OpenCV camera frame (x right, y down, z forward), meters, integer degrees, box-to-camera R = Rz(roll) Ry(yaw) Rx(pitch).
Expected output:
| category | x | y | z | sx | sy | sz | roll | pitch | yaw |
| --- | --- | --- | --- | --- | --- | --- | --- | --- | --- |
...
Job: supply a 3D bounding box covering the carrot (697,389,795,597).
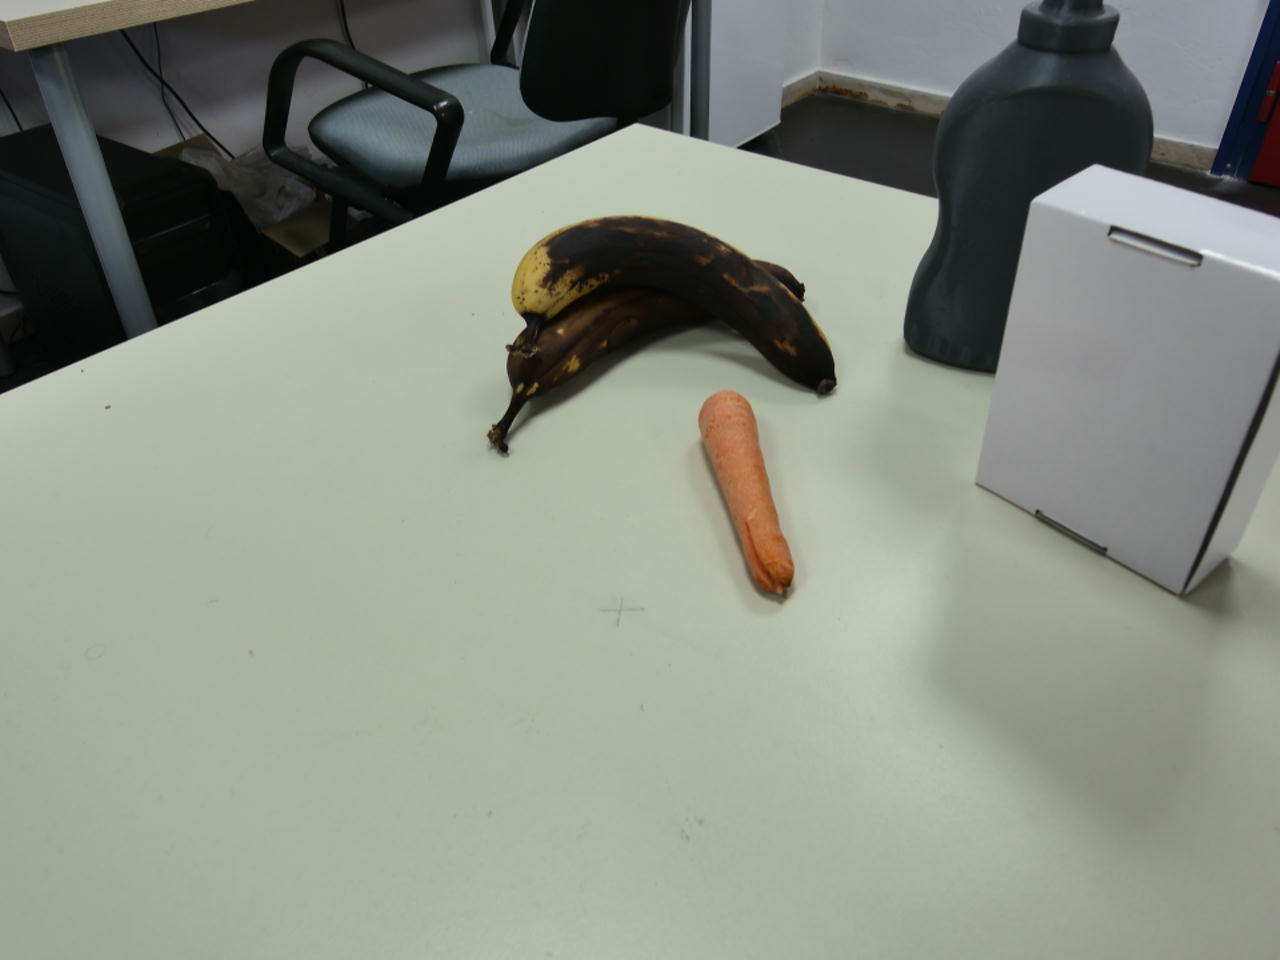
| category | x | y | z | sx | sy | sz | roll | pitch | yaw |
| --- | --- | --- | --- | --- | --- | --- | --- | --- | --- |
| carrot | 0.049 | 0.000 | 0.469 | 0.030 | 0.032 | 0.136 | -4 | 36 | -4 |
